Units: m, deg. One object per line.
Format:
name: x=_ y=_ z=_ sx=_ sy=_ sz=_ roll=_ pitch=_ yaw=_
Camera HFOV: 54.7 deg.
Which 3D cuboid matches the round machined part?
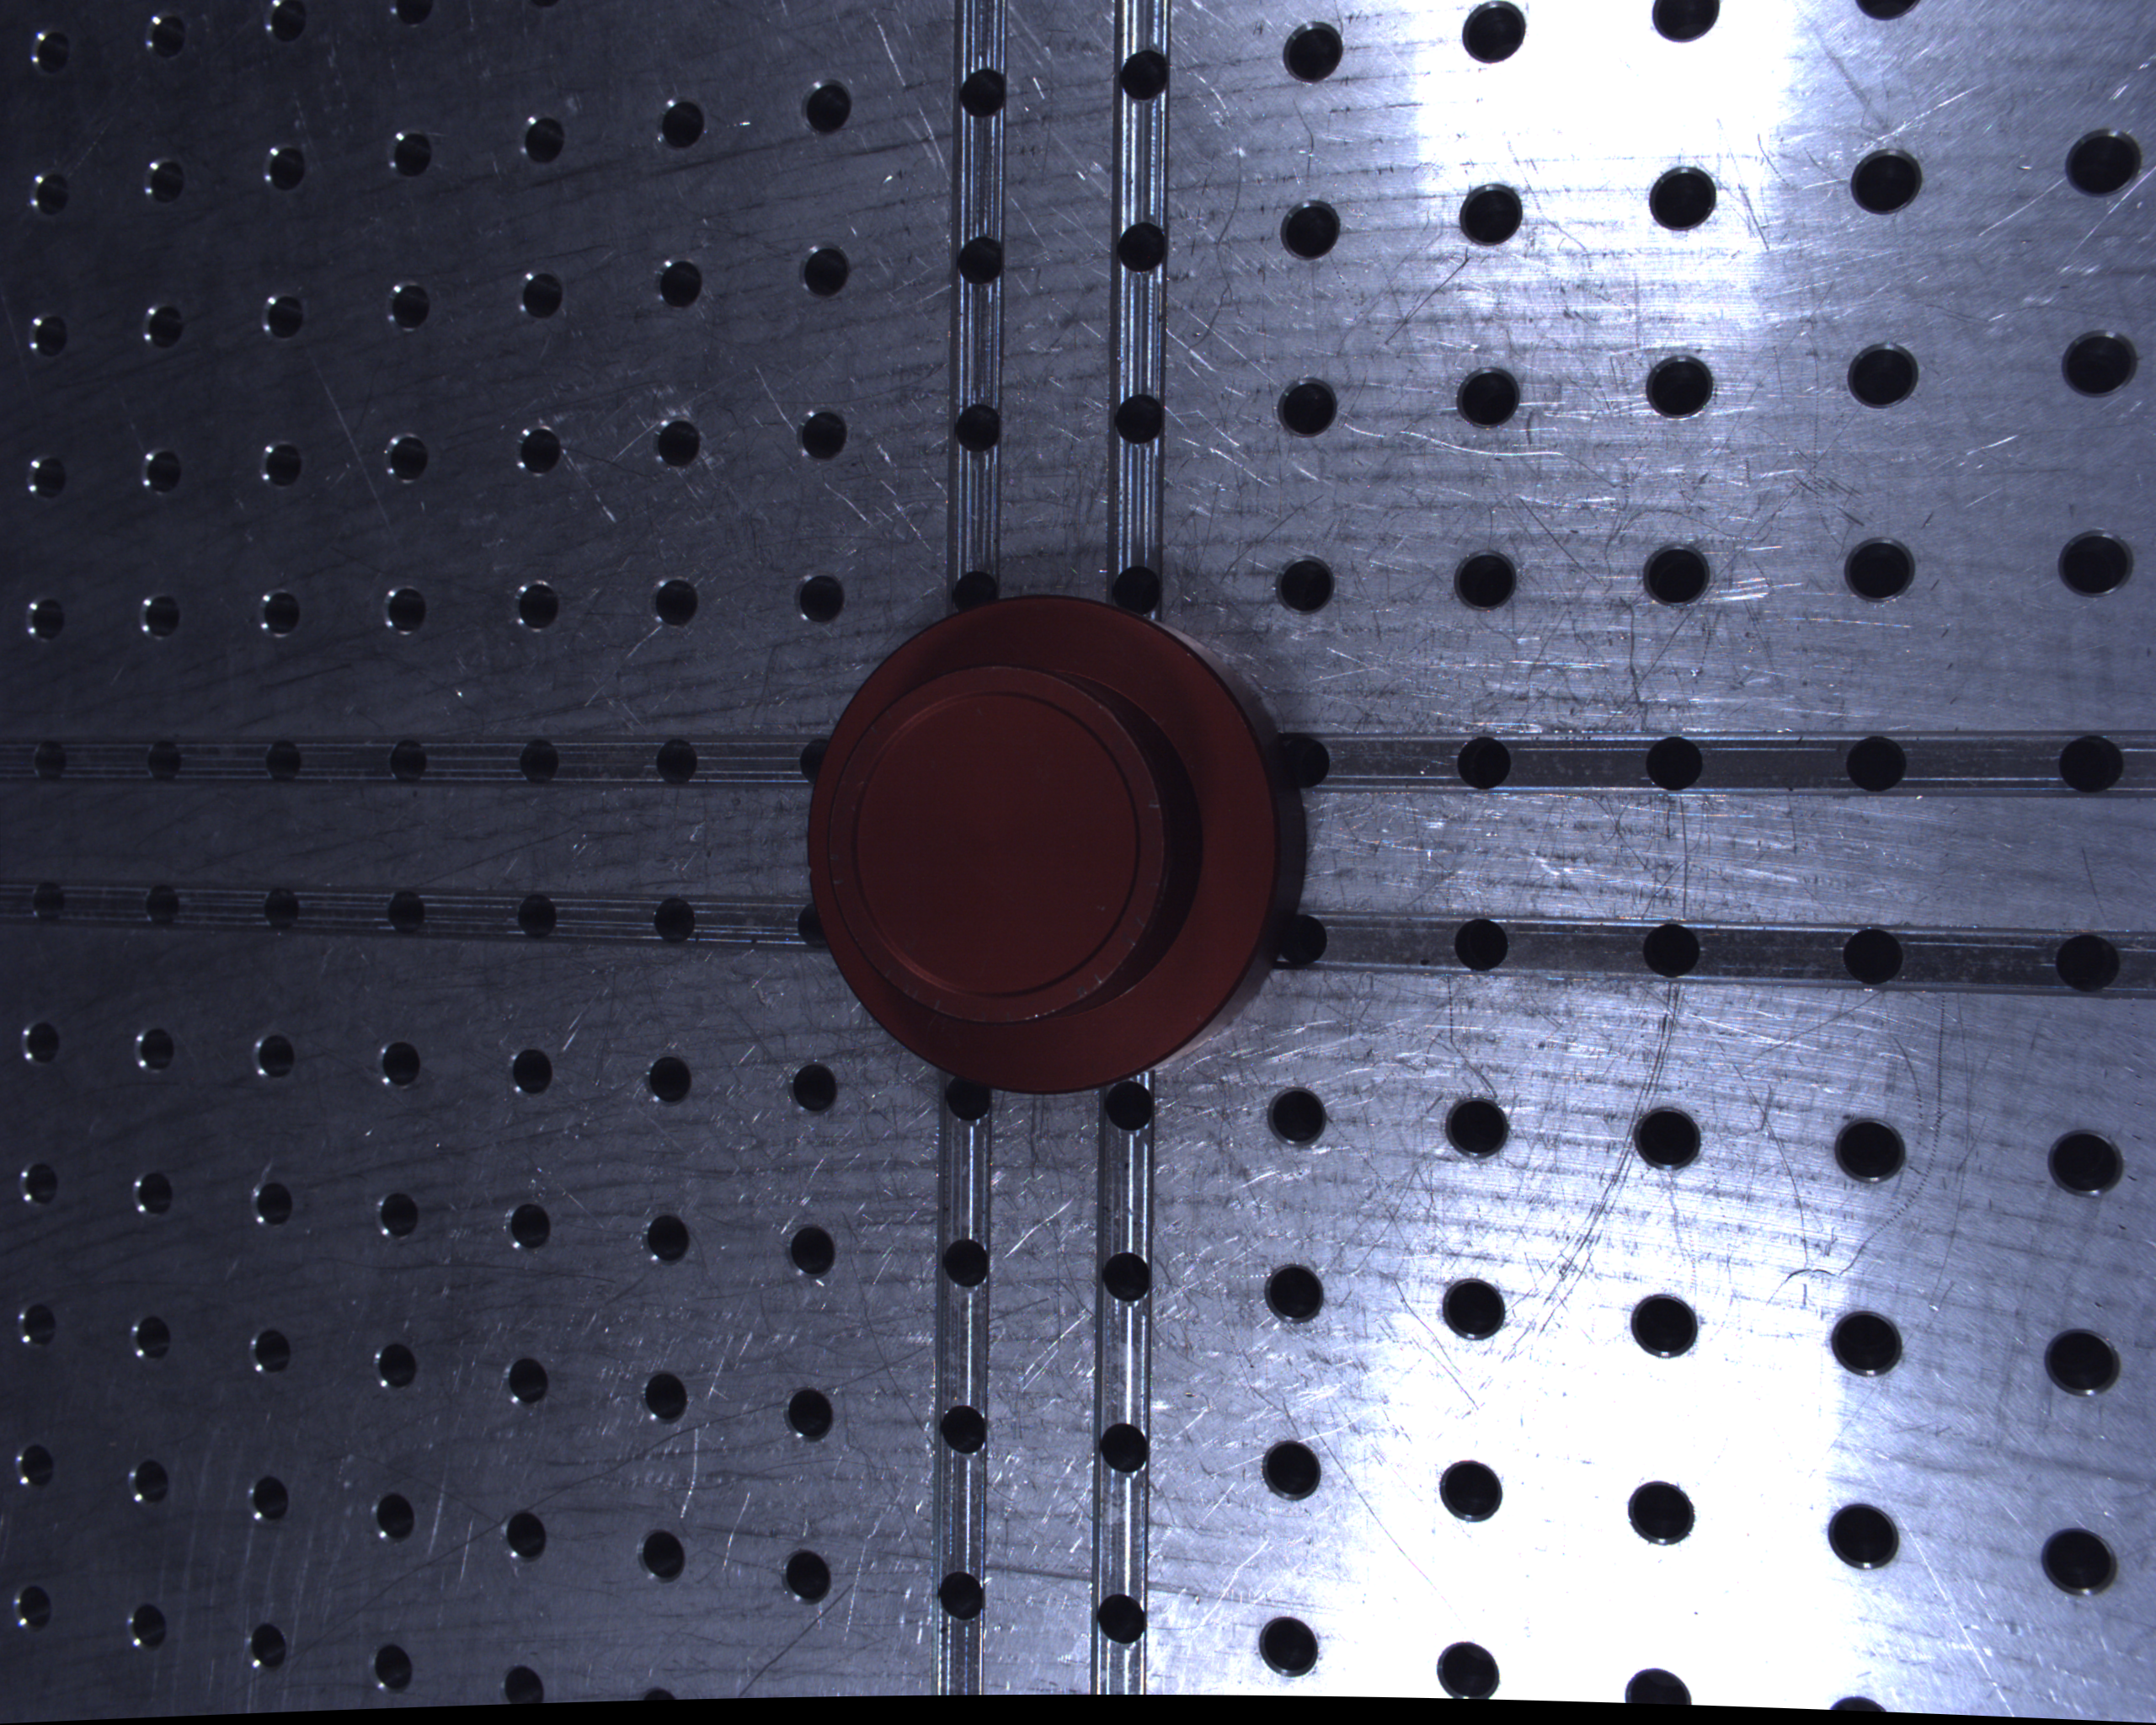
round machined part: x=-0.009 y=-0.003 z=0.405 sx=0.098 sy=0.042 sz=0.097 roll=0 pitch=90 yaw=19
